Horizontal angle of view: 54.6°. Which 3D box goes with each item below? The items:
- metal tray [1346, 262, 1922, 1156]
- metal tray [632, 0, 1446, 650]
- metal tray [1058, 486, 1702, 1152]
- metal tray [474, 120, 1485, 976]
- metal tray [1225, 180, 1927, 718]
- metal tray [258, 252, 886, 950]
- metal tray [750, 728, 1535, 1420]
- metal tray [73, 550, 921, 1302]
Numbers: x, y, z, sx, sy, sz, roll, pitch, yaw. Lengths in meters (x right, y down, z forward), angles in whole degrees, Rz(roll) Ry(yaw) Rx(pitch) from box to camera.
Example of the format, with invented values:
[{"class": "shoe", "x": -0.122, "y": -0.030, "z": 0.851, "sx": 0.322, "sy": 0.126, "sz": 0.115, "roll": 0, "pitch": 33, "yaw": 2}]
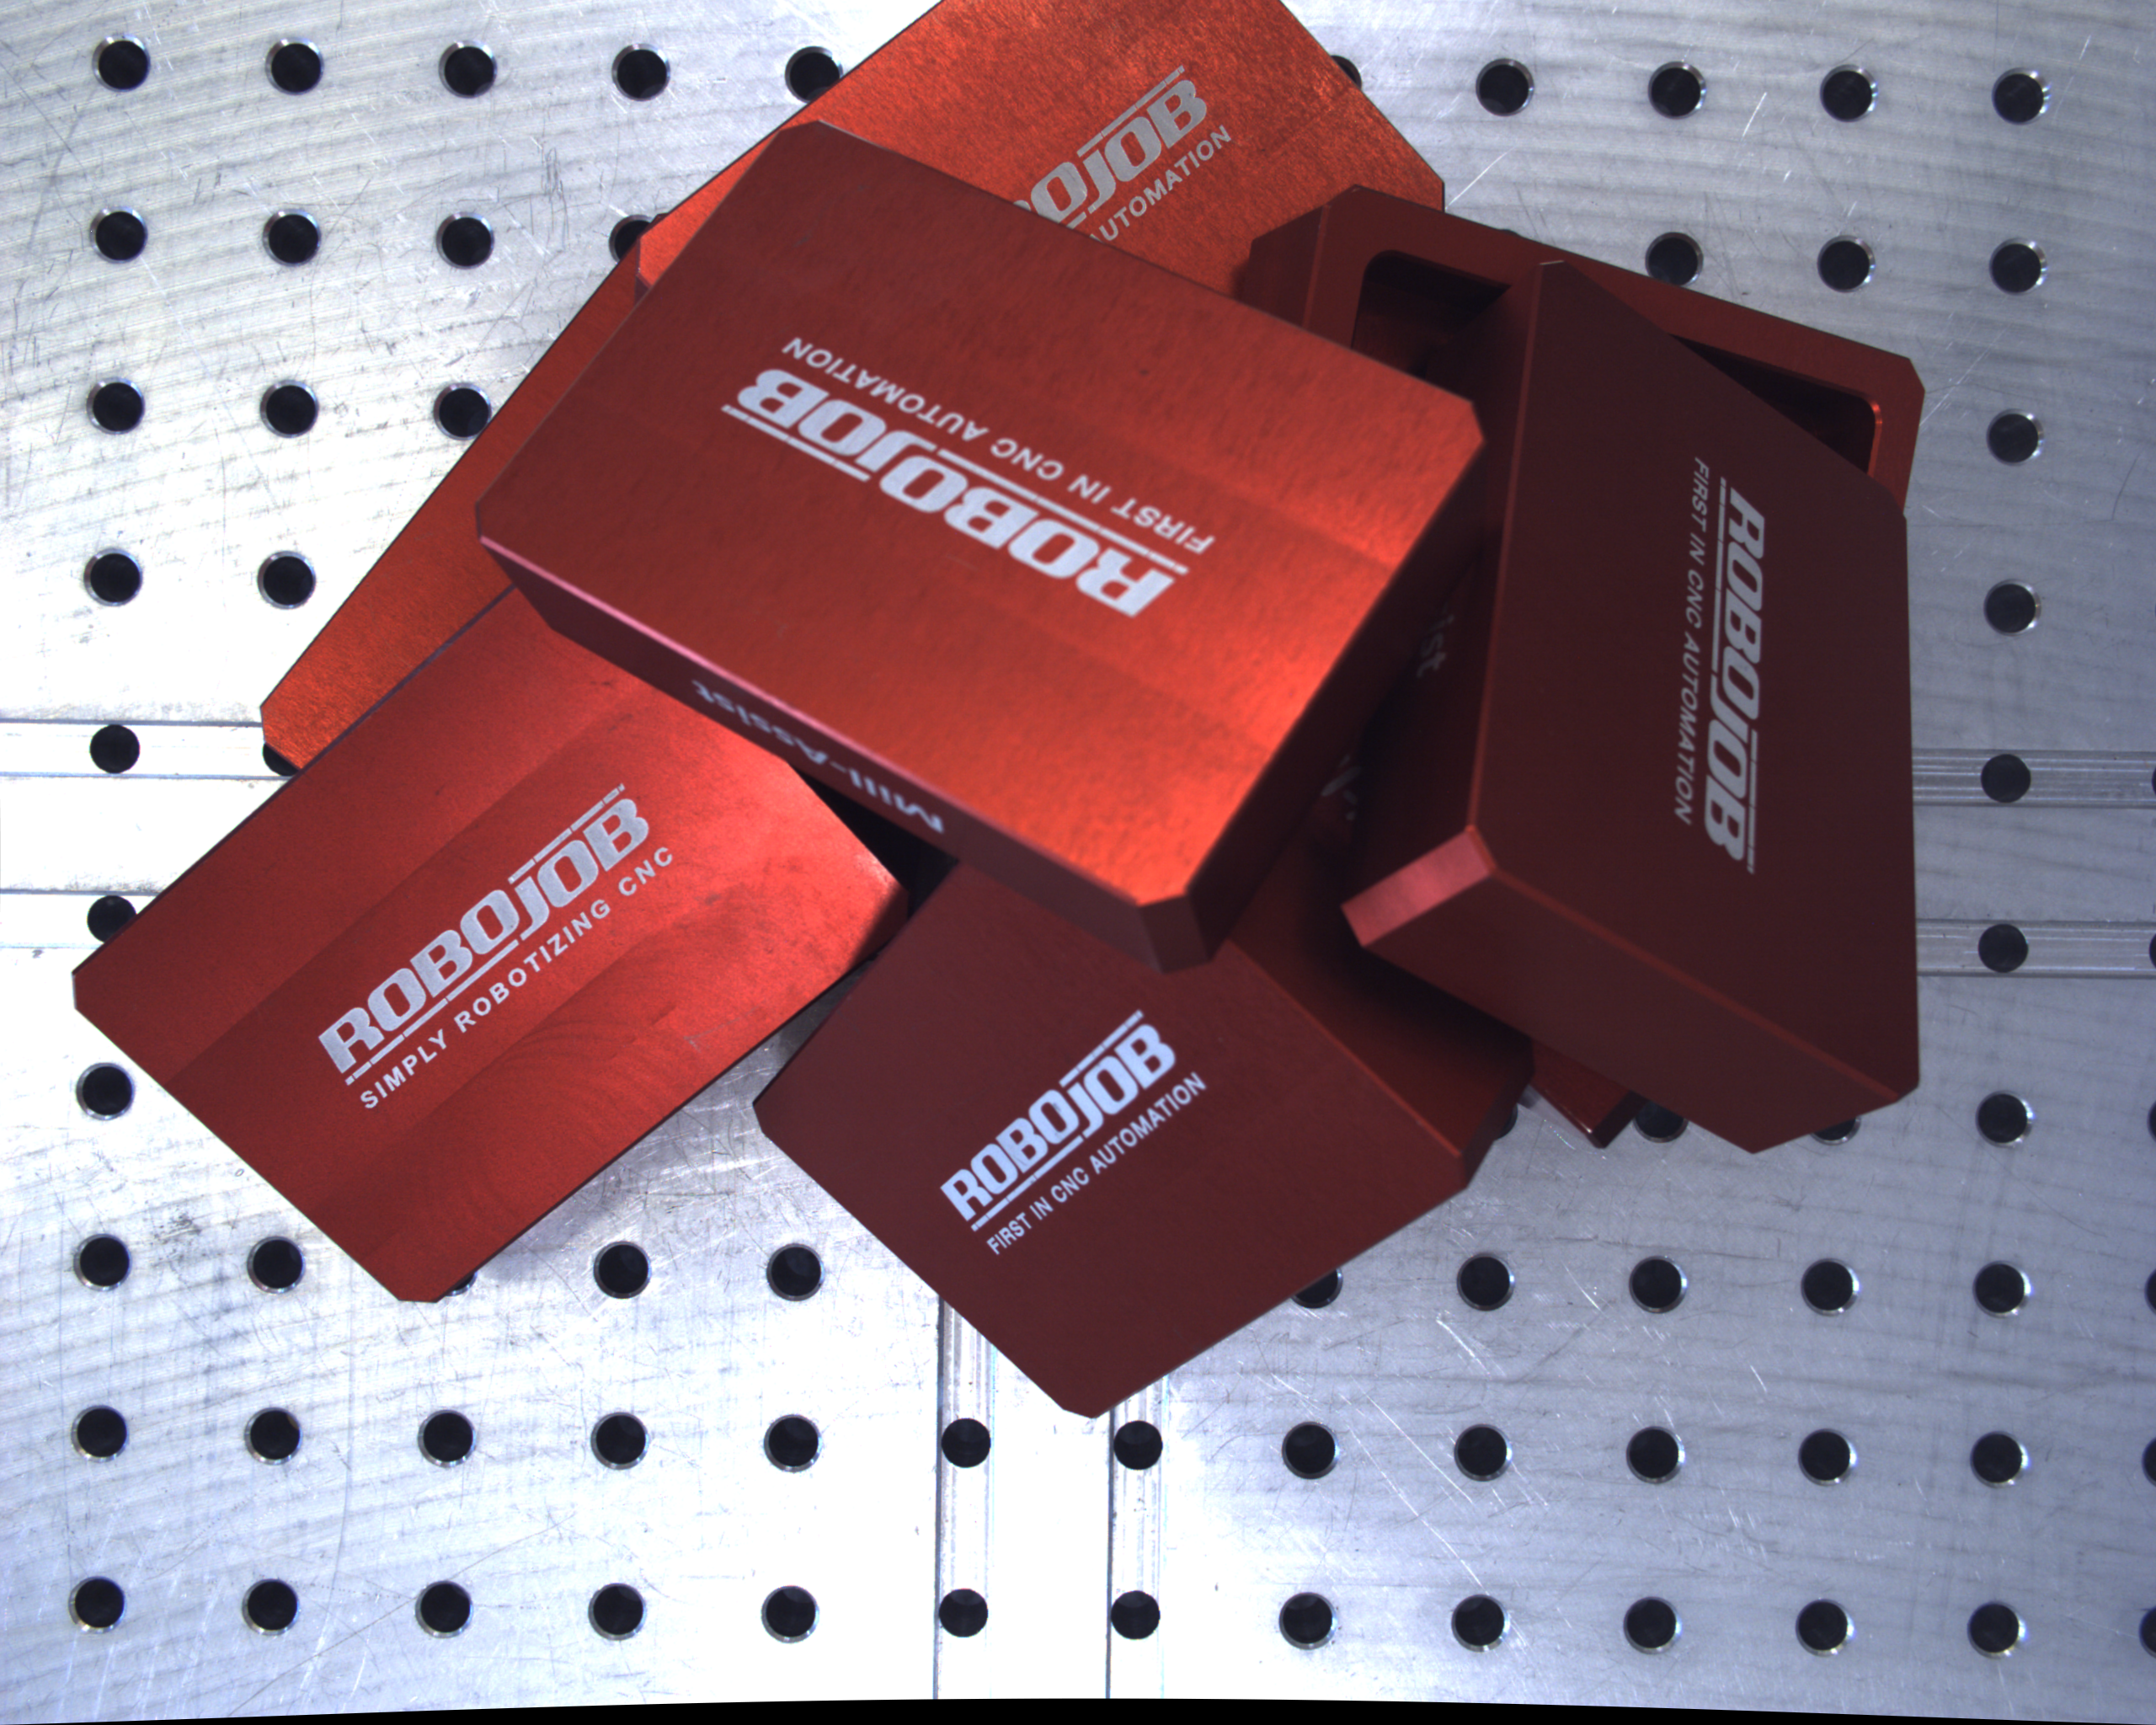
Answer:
[{"class": "metal tray", "x": 0.097, "y": -0.028, "z": 0.348, "sx": 0.090, "sy": 0.030, "sz": 0.130, "roll": 28, "pitch": 54, "yaw": -20}, {"class": "metal tray", "x": -0.006, "y": -0.114, "z": 0.392, "sx": 0.130, "sy": 0.030, "sz": 0.090, "roll": -43, "pitch": 92, "yaw": -14}, {"class": "metal tray", "x": 0.050, "y": -0.008, "z": 0.382, "sx": 0.130, "sy": 0.090, "sz": 0.030, "roll": 44, "pitch": 91, "yaw": 1}, {"class": "metal tray", "x": -0.015, "y": -0.052, "z": 0.323, "sx": 0.130, "sy": 0.030, "sz": 0.090, "roll": 29, "pitch": 75, "yaw": 19}, {"class": "metal tray", "x": 0.090, "y": -0.063, "z": 0.389, "sx": 0.131, "sy": 0.030, "sz": 0.090, "roll": 10, "pitch": 90, "yaw": -20}, {"class": "metal tray", "x": -0.082, "y": -0.049, "z": 0.410, "sx": 0.090, "sy": 0.030, "sz": 0.130, "roll": 39, "pitch": 90, "yaw": 0}, {"class": "metal tray", "x": 0.005, "y": 0.041, "z": 0.367, "sx": 0.090, "sy": 0.129, "sz": 0.030, "roll": 43, "pitch": 48, "yaw": -1}, {"class": "metal tray", "x": -0.105, "y": 0.011, "z": 0.388, "sx": 0.130, "sy": 0.030, "sz": 0.090, "roll": -38, "pitch": 106, "yaw": 11}]
